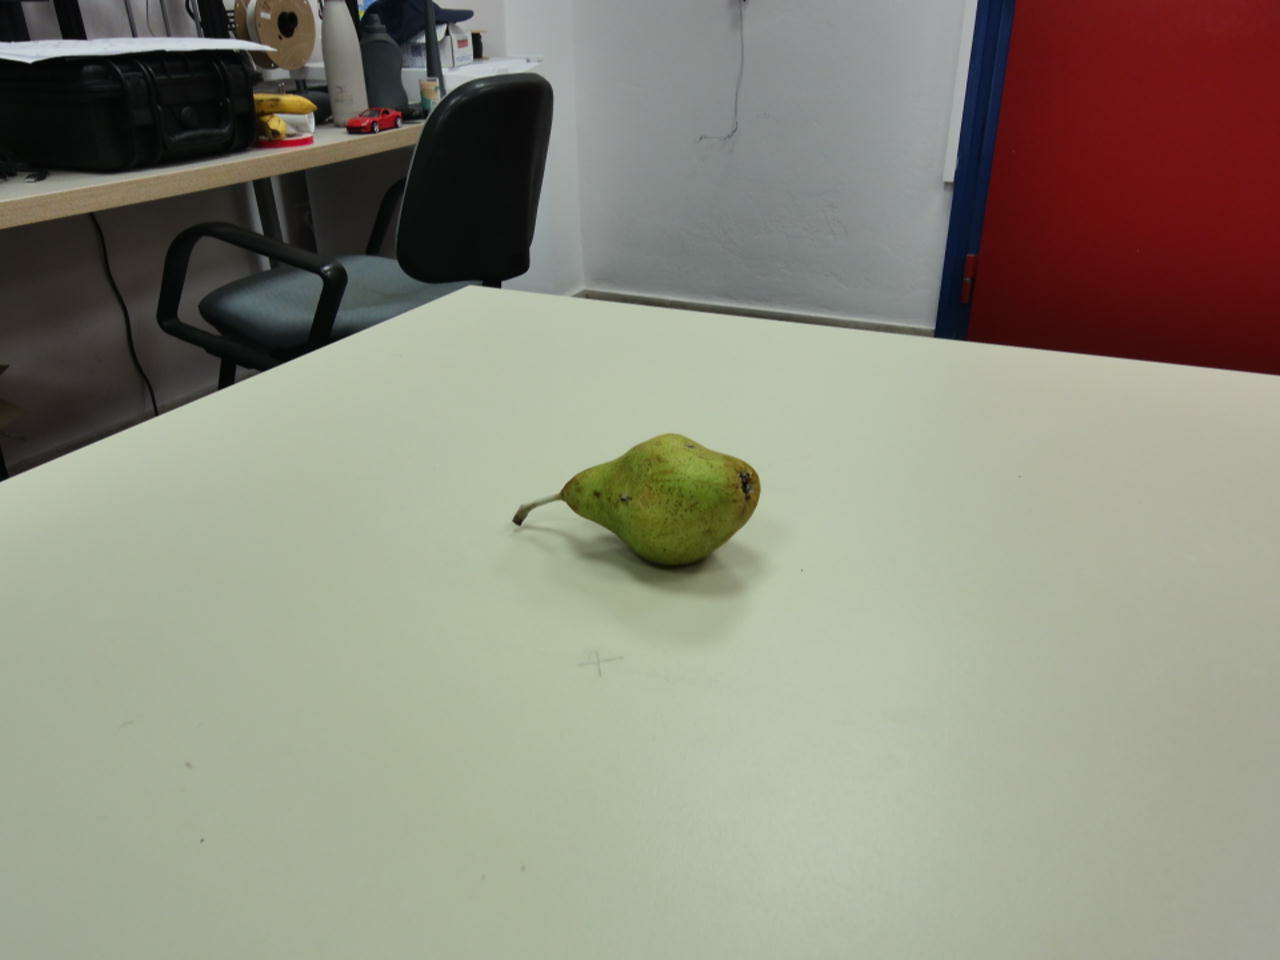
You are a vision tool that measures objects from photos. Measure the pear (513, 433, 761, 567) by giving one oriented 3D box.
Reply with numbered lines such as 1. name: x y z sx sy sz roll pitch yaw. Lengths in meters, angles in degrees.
1. pear: 0.000 0.004 0.443 0.111 0.056 0.056 19 30 37
